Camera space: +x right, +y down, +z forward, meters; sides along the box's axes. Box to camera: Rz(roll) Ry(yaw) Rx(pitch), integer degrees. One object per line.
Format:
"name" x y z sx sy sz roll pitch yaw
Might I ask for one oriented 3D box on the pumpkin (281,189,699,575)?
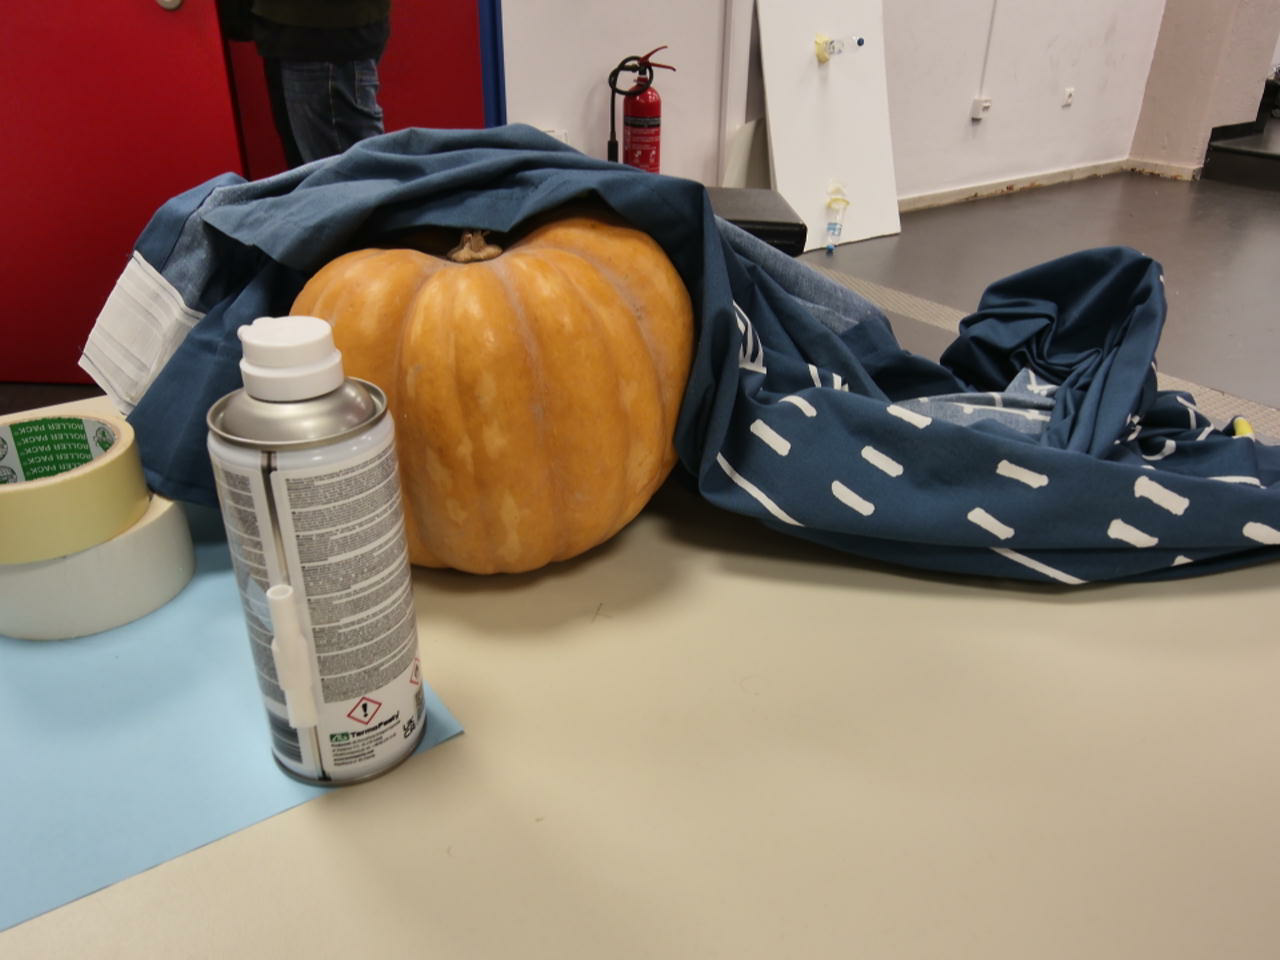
"pumpkin" -0.077 -0.054 0.553 0.230 0.194 0.230 1 26 0
